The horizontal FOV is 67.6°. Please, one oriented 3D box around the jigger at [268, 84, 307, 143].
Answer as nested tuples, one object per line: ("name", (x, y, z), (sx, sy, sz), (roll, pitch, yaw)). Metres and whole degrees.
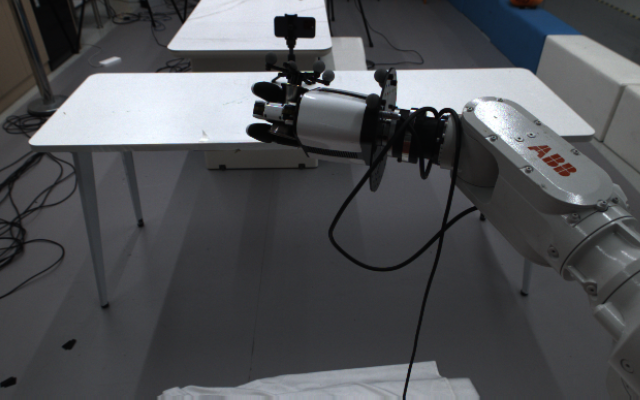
("jigger", (-0.042, -0.120, 0.657), (0.043, 0.071, 0.043), (13, 1, 0))
